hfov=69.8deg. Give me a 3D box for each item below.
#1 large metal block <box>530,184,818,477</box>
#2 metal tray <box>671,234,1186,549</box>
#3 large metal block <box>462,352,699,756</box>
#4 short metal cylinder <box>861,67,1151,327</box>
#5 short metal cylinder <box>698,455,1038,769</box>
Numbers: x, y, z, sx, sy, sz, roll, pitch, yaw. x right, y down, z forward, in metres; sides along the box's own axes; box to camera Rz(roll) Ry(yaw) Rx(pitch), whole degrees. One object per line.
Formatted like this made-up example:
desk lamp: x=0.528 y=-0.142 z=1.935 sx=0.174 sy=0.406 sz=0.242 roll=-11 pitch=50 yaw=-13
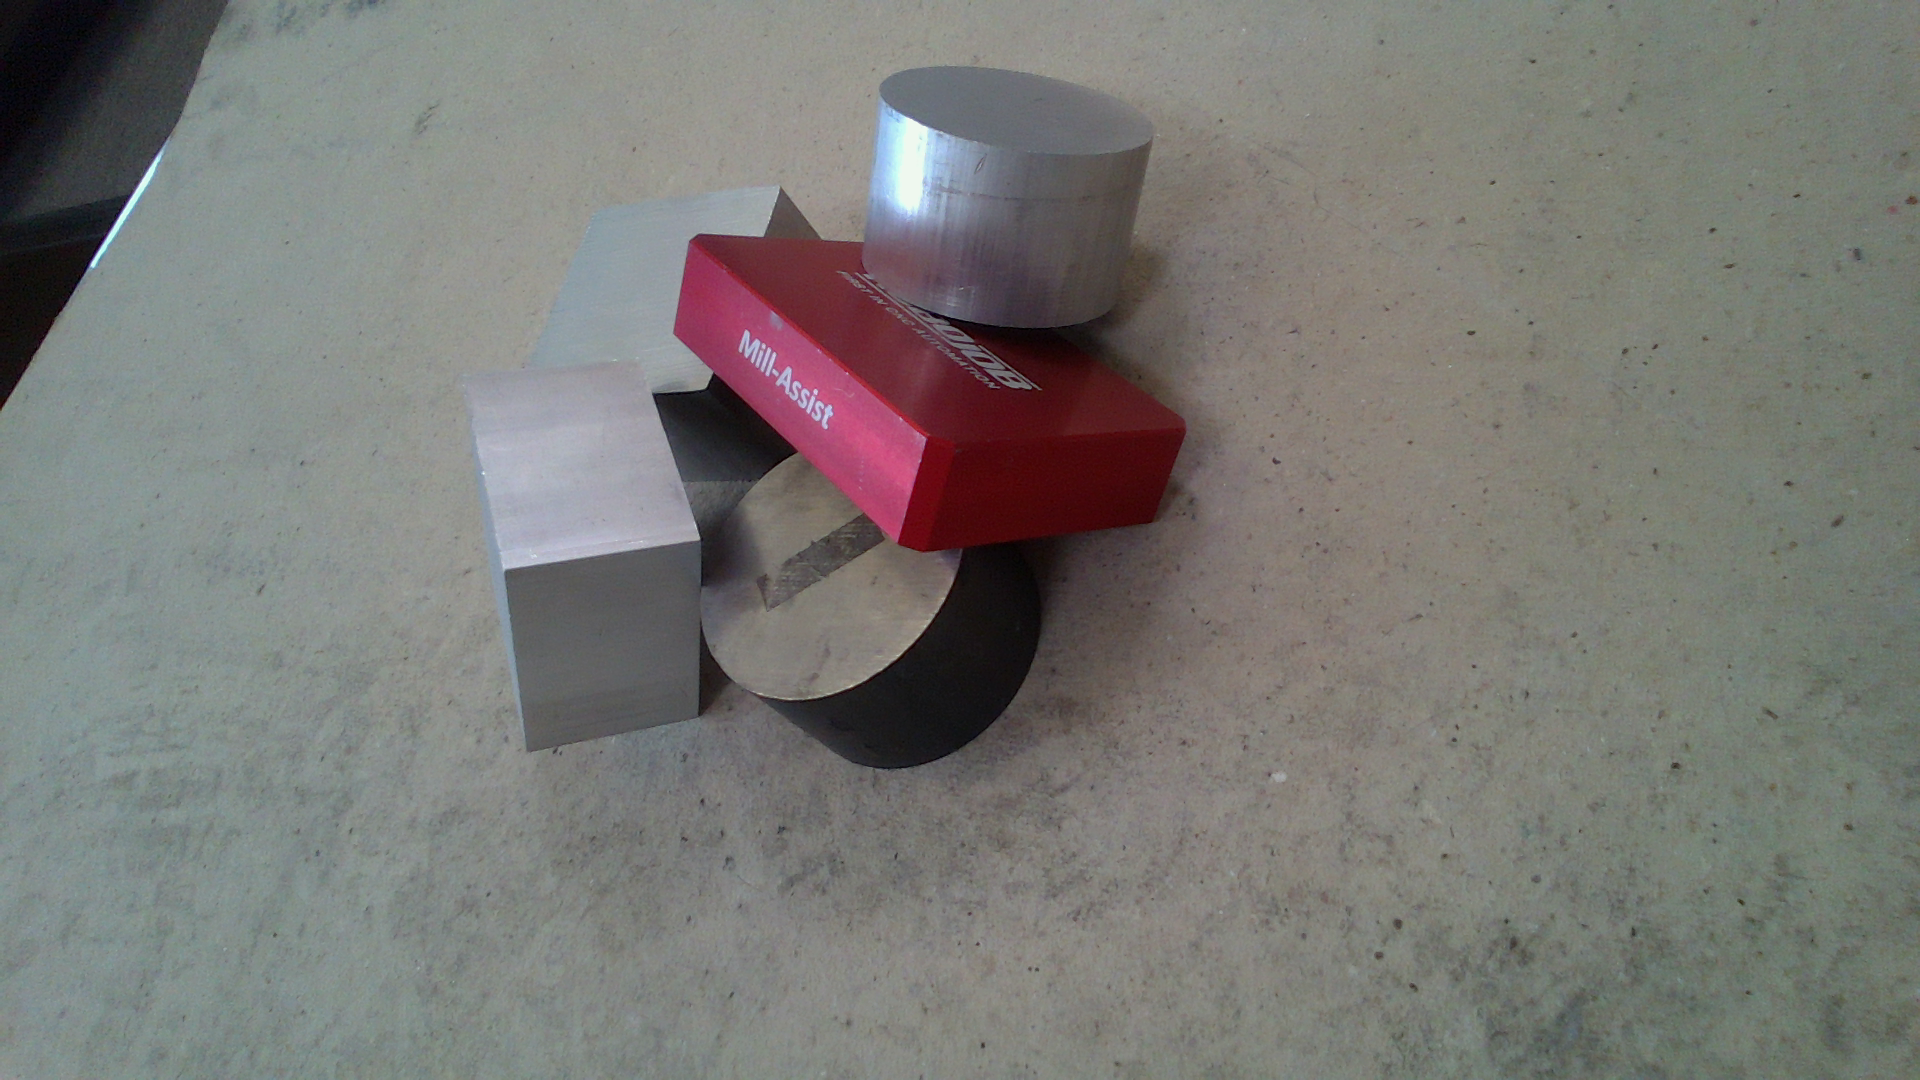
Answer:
large metal block: x=-0.092 y=-0.069 z=0.467 sx=0.080 sy=0.050 sz=0.080 roll=1 pitch=62 yaw=29
metal tray: x=-0.012 y=-0.047 z=0.389 sx=0.130 sy=0.090 sz=0.030 roll=42 pitch=125 yaw=39
large metal block: x=-0.112 y=0.003 z=0.408 sx=0.050 sy=0.080 sz=0.080 roll=-10 pitch=49 yaw=-20
short metal cylinder: x=0.012 y=-0.104 z=0.410 sx=0.080 sy=0.050 sz=0.080 roll=7 pitch=33 yaw=-4
short metal cylinder: x=-0.025 y=0.017 z=0.382 sx=0.080 sy=0.050 sz=0.080 roll=-13 pitch=56 yaw=21
